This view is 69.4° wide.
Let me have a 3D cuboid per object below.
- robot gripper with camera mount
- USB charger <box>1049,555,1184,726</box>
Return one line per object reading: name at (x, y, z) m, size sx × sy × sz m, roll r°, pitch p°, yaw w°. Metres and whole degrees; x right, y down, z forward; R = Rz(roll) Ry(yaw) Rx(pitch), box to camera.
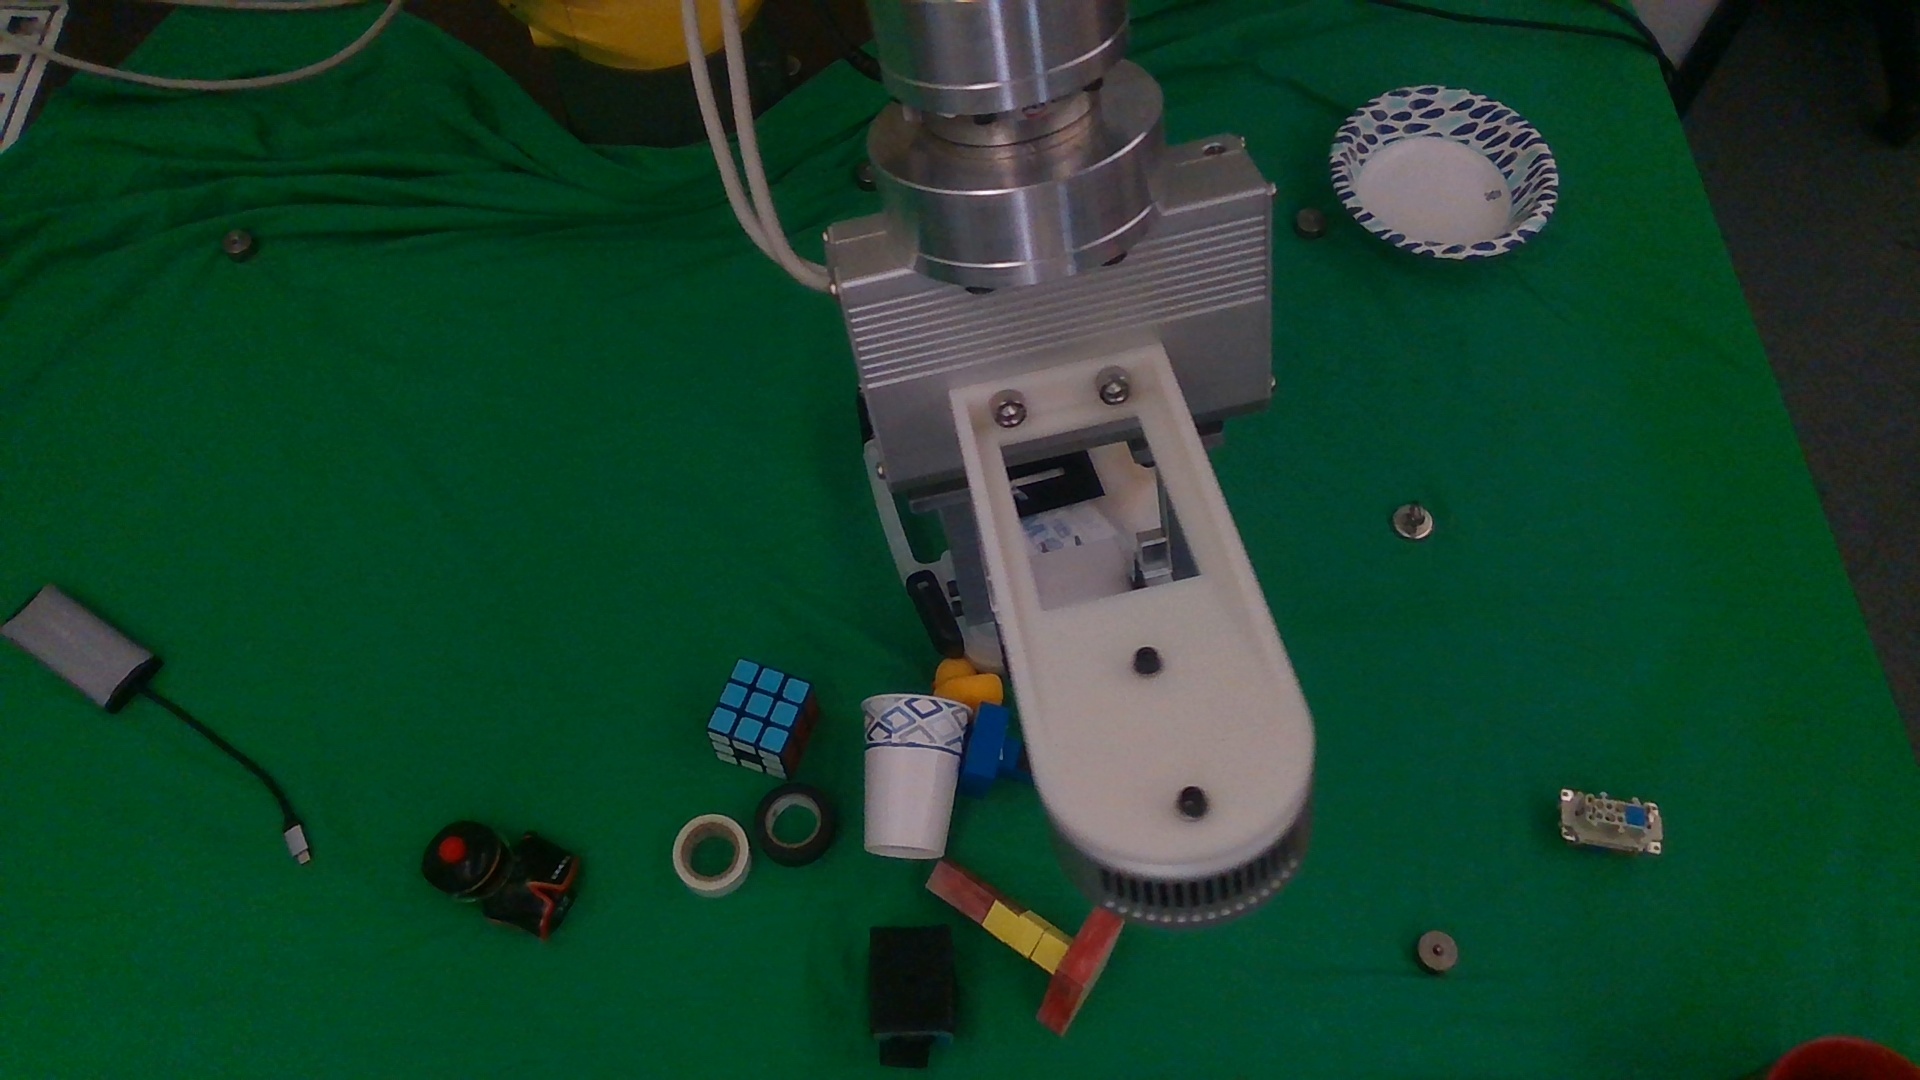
robot gripper with camera mount at (0.053, 0.026, 0.376) m, size 0.119 × 0.158 × 0.193 m, roll -13°, pitch 37°, yaw 1°
USB charger at (0.052, 0.030, 0.489) m, size 0.045 × 0.029 × 0.075 m, roll -3°, pitch 42°, yaw 1°
